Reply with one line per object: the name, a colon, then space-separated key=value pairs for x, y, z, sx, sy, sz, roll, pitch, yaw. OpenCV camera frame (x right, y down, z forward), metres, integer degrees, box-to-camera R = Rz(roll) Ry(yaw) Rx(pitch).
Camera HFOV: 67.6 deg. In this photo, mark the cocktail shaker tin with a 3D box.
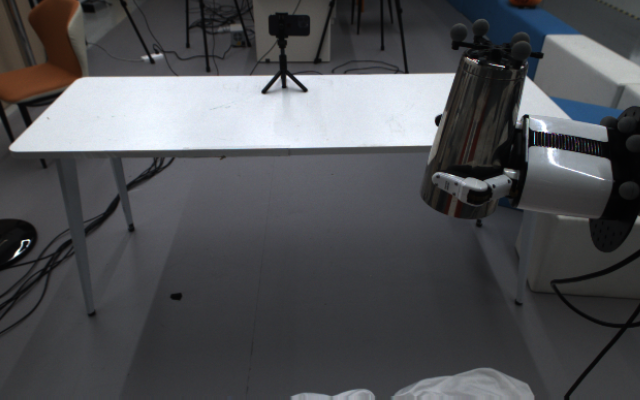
cocktail shaker tin: x=0.174 y=-0.075 z=0.540 sx=0.093 sy=0.170 sz=0.093 roll=3 pitch=34 yaw=-2
